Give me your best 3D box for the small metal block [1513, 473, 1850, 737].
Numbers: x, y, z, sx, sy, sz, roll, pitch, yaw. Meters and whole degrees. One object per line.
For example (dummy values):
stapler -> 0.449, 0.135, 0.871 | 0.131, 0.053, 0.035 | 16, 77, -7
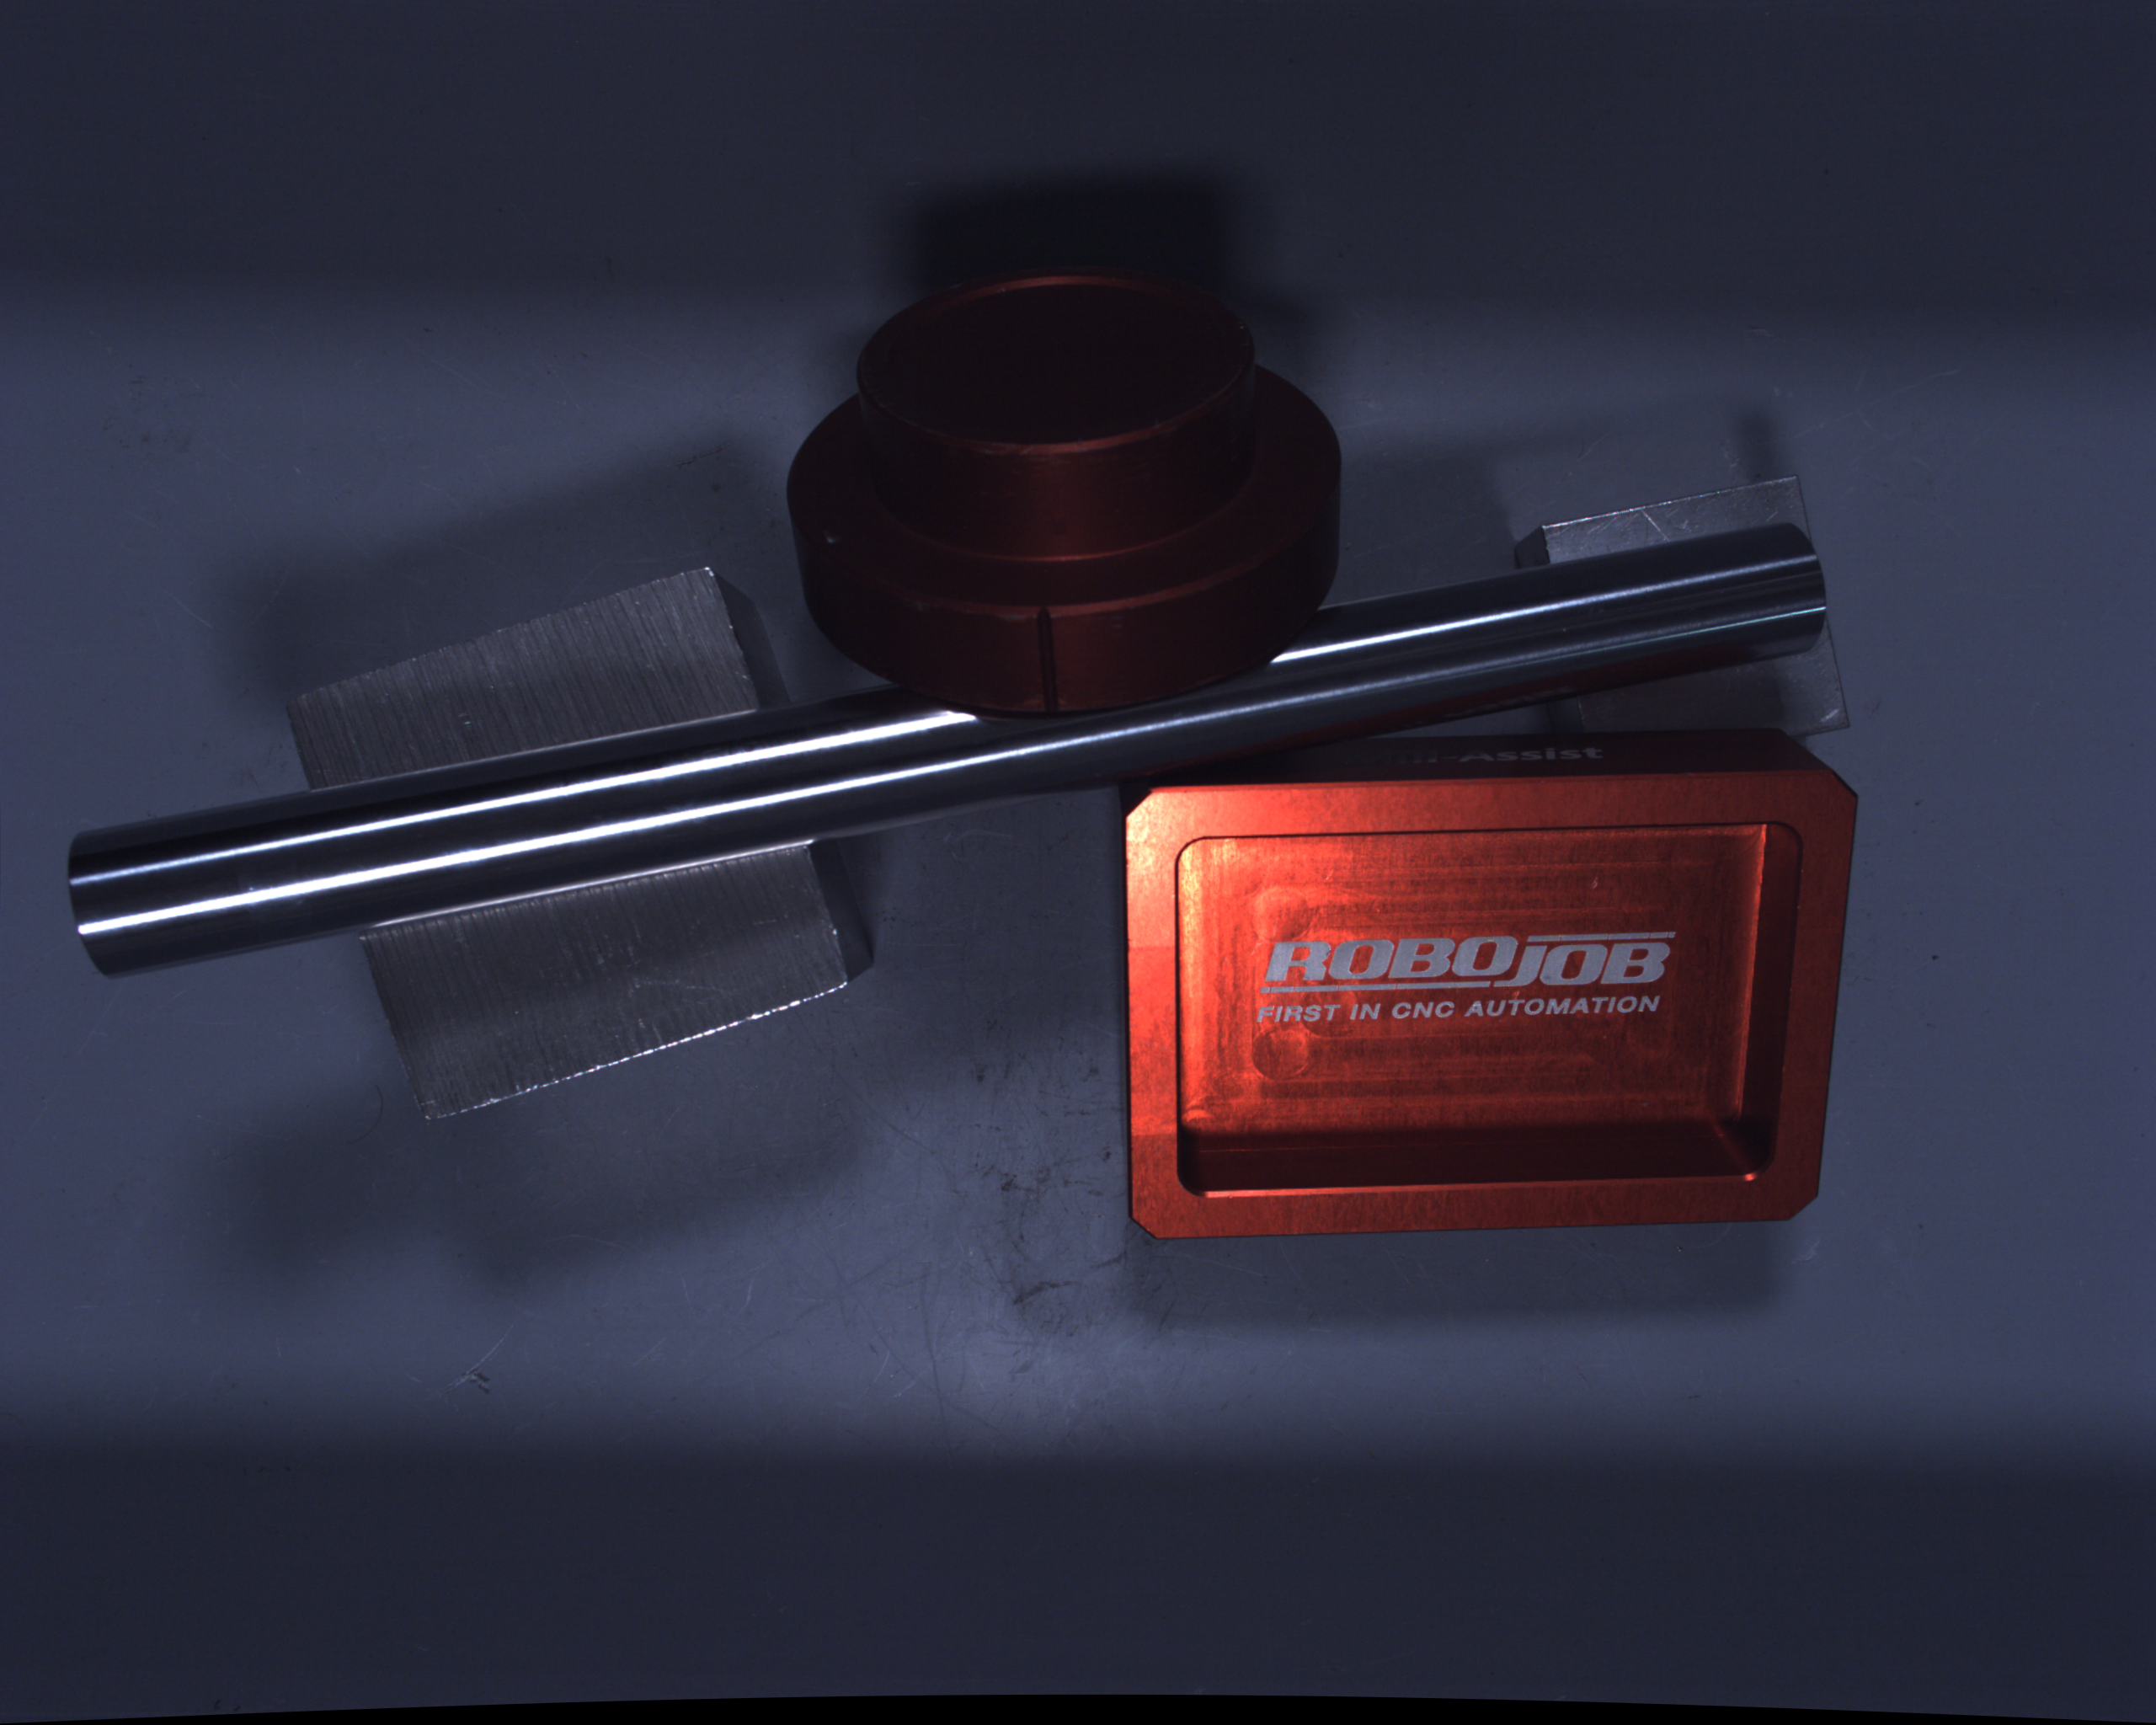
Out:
small metal block -> 0.118, -0.045, 0.411 | 0.050, 0.025, 0.050 | -11, 90, -1

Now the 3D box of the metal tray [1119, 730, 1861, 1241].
metal tray -> 0.074, 0.023, 0.394 | 0.131, 0.030, 0.089 | -2, 110, -1

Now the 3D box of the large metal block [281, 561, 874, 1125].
large metal block -> -0.091, -0.004, 0.395 | 0.080, 0.050, 0.080 | -18, 90, -1

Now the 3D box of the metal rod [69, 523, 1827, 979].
metal rod -> -0.015, -0.022, 0.365 | 0.302, 0.025, 0.025 | -11, 90, -8

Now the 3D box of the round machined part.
round machined part -> -0.003, -0.072, 0.371 | 0.099, 0.098, 0.042 | -4, 131, -1
